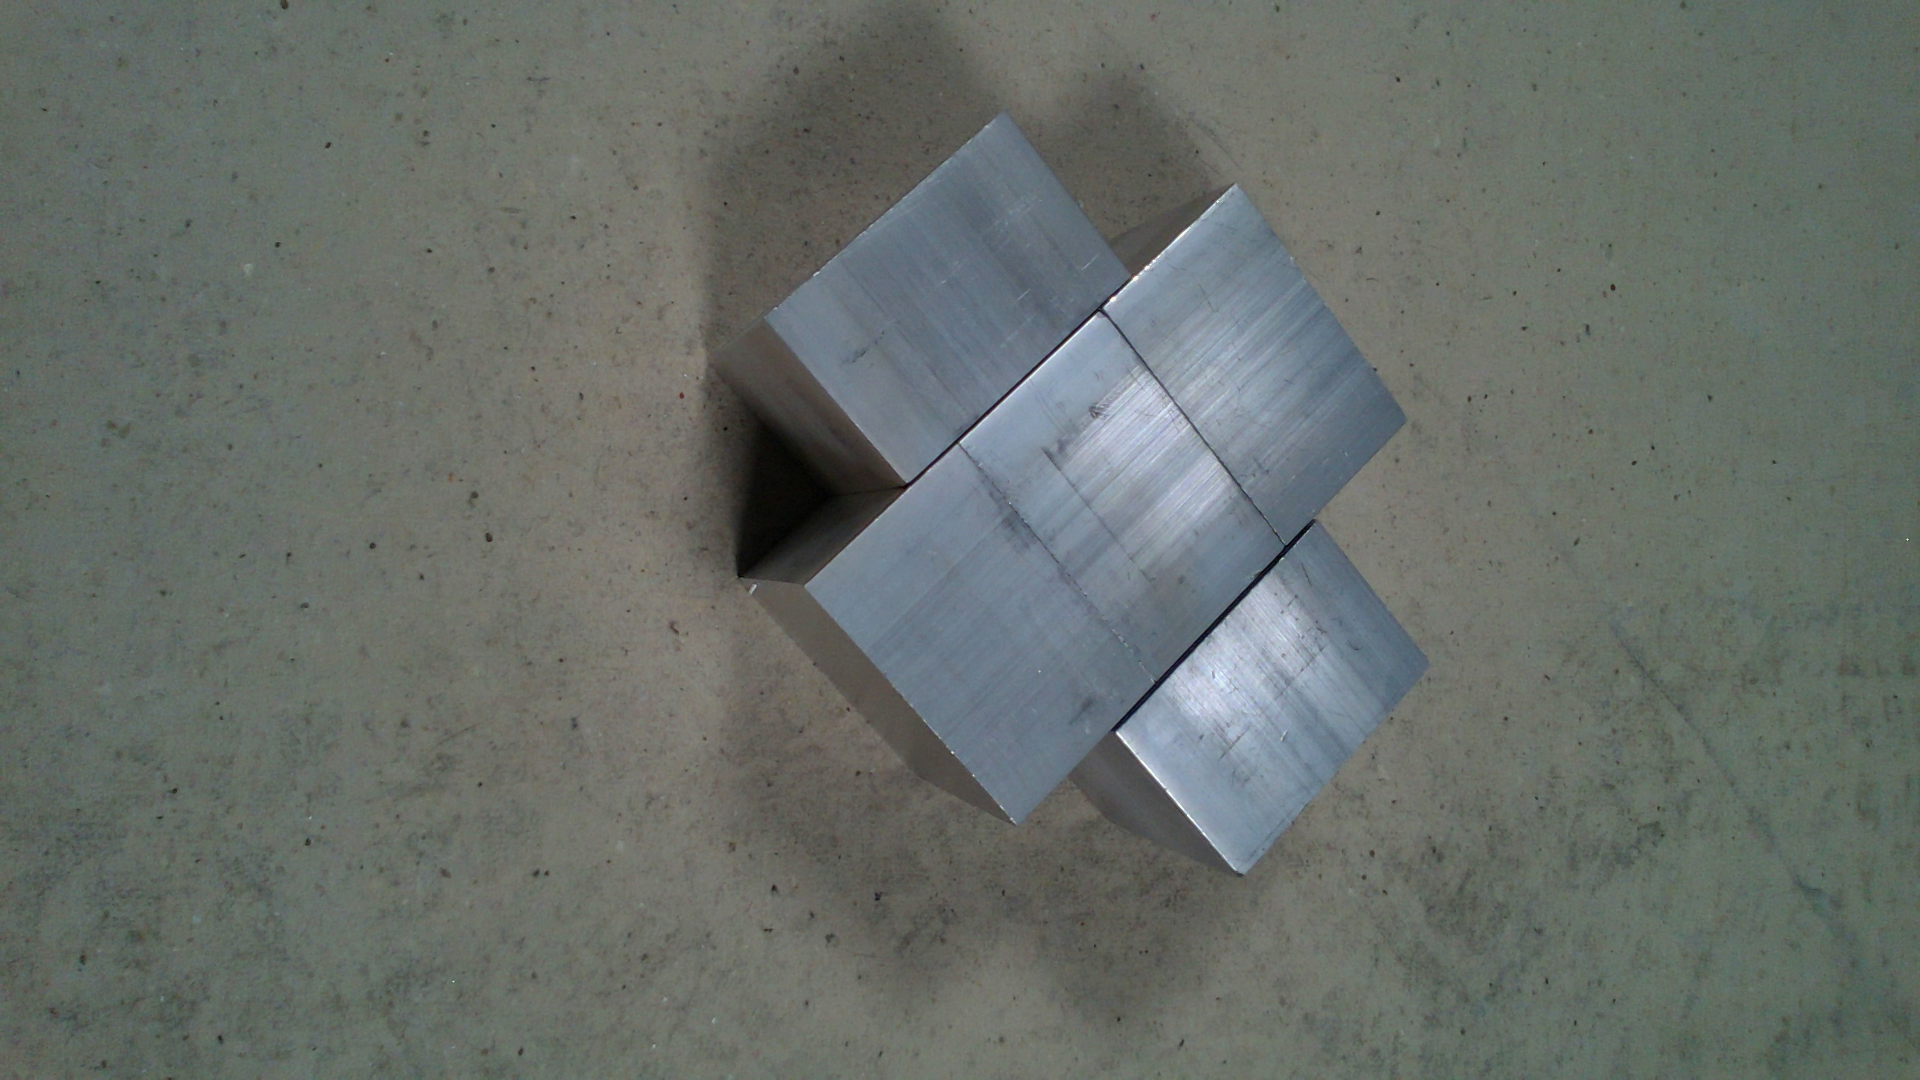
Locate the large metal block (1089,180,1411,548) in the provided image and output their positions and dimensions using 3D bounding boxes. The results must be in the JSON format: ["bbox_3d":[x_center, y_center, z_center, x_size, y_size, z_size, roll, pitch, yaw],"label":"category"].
[{"bbox_3d":[0.064,-0.045,0.388,0.050,0.080,0.080,-44,104,-14],"label":"large metal block"}]

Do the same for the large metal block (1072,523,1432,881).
[{"bbox_3d":[0.069,0.041,0.390,0.080,0.080,0.050,-44,104,-14],"label":"large metal block"}]

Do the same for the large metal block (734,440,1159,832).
[{"bbox_3d":[-0.007,0.023,0.362,0.050,0.080,0.080,-44,104,-14],"label":"large metal block"}]

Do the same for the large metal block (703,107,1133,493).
[{"bbox_3d":[-0.015,-0.057,0.359,0.080,0.080,0.050,-44,104,-14],"label":"large metal block"}]

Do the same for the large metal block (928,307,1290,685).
[{"bbox_3d":[0.029,-0.011,0.375,0.050,0.080,0.080,-44,104,-14],"label":"large metal block"}]
